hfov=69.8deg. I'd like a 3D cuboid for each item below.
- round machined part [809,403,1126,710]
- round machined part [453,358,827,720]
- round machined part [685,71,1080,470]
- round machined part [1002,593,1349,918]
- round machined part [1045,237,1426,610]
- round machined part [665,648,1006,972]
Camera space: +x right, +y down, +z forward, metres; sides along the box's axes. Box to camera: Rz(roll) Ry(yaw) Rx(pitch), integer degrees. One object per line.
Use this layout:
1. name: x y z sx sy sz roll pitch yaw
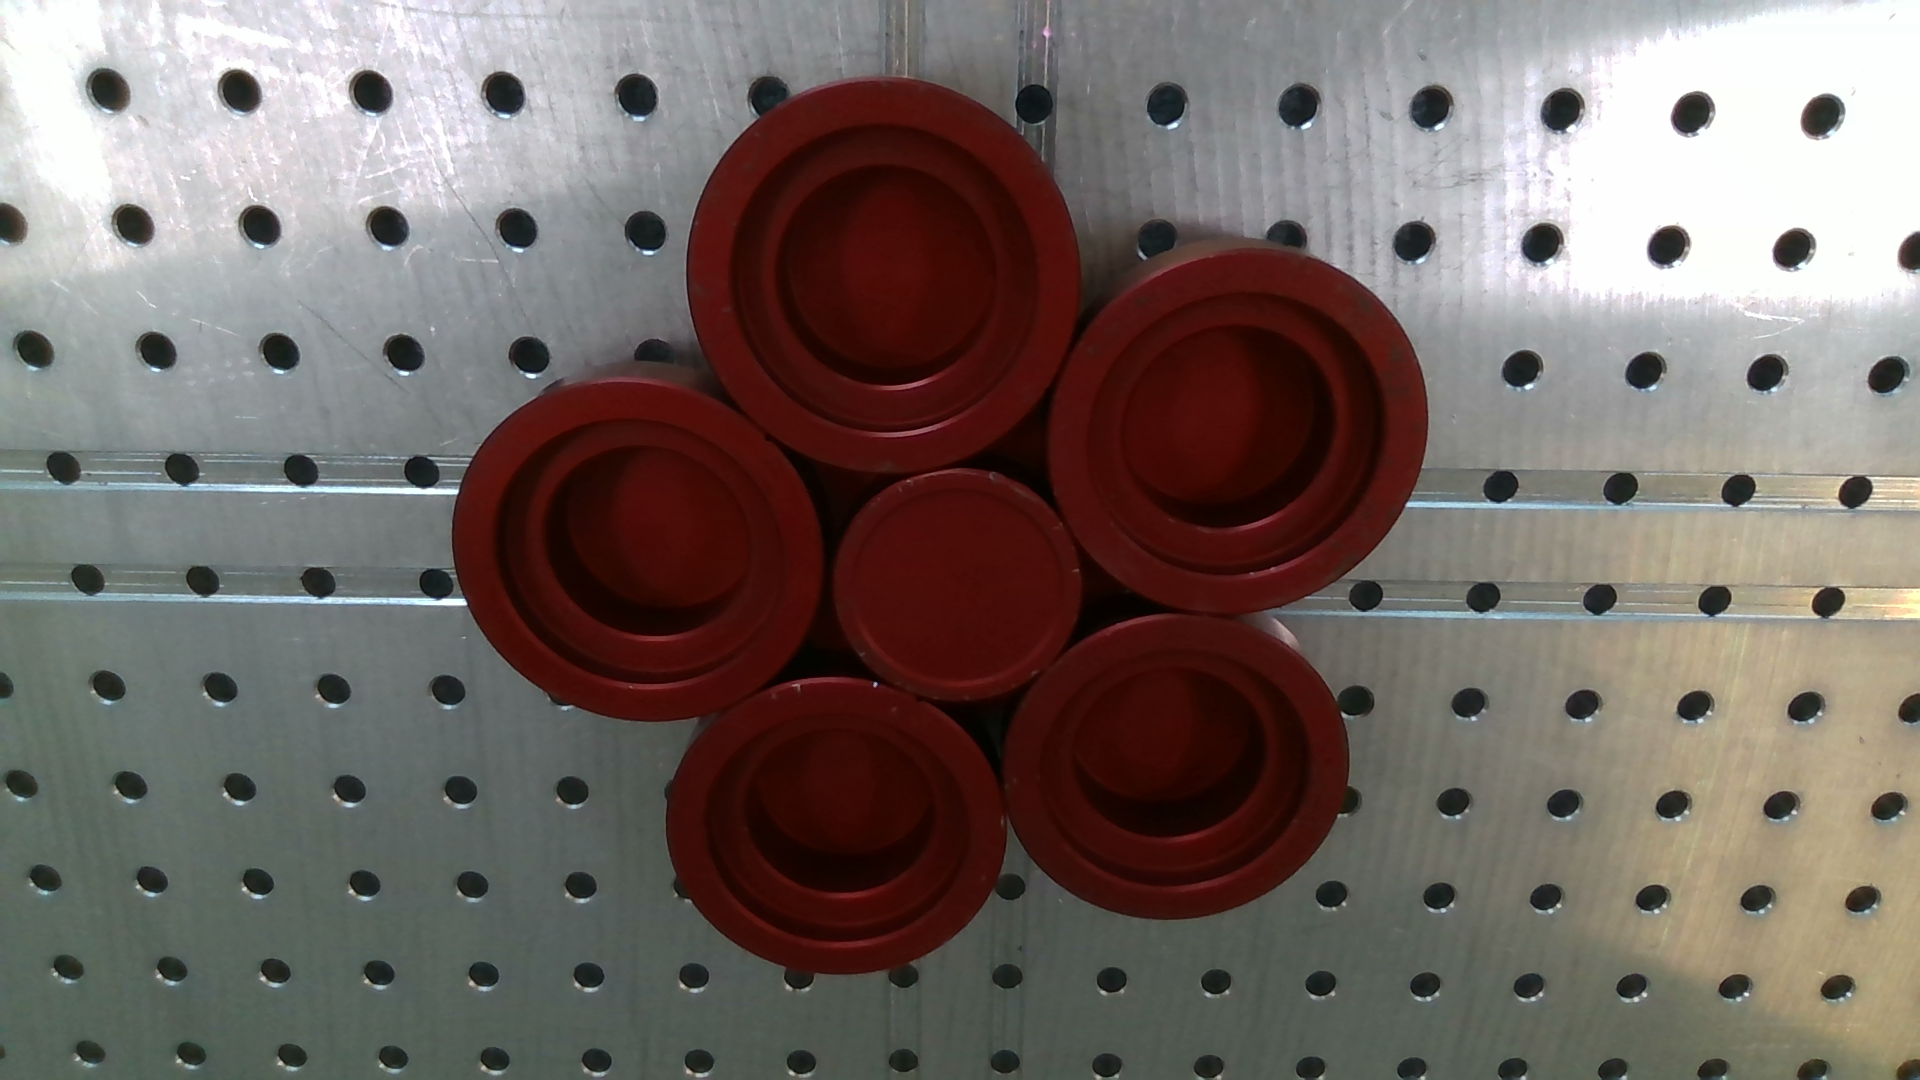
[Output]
1. round machined part: -0.001 0.005 0.388 0.098 0.042 0.098 0 110 0
2. round machined part: -0.086 -0.003 0.385 0.098 0.042 0.098 0 110 0
3. round machined part: -0.019 -0.071 0.360 0.098 0.042 0.098 0 110 0
4. round machined part: 0.061 0.059 0.408 0.098 0.042 0.098 0 110 0
5. round machined part: 0.071 -0.034 0.374 0.098 0.042 0.098 0 110 0
6. round machined part: -0.036 0.077 0.414 0.098 0.042 0.098 0 110 0
